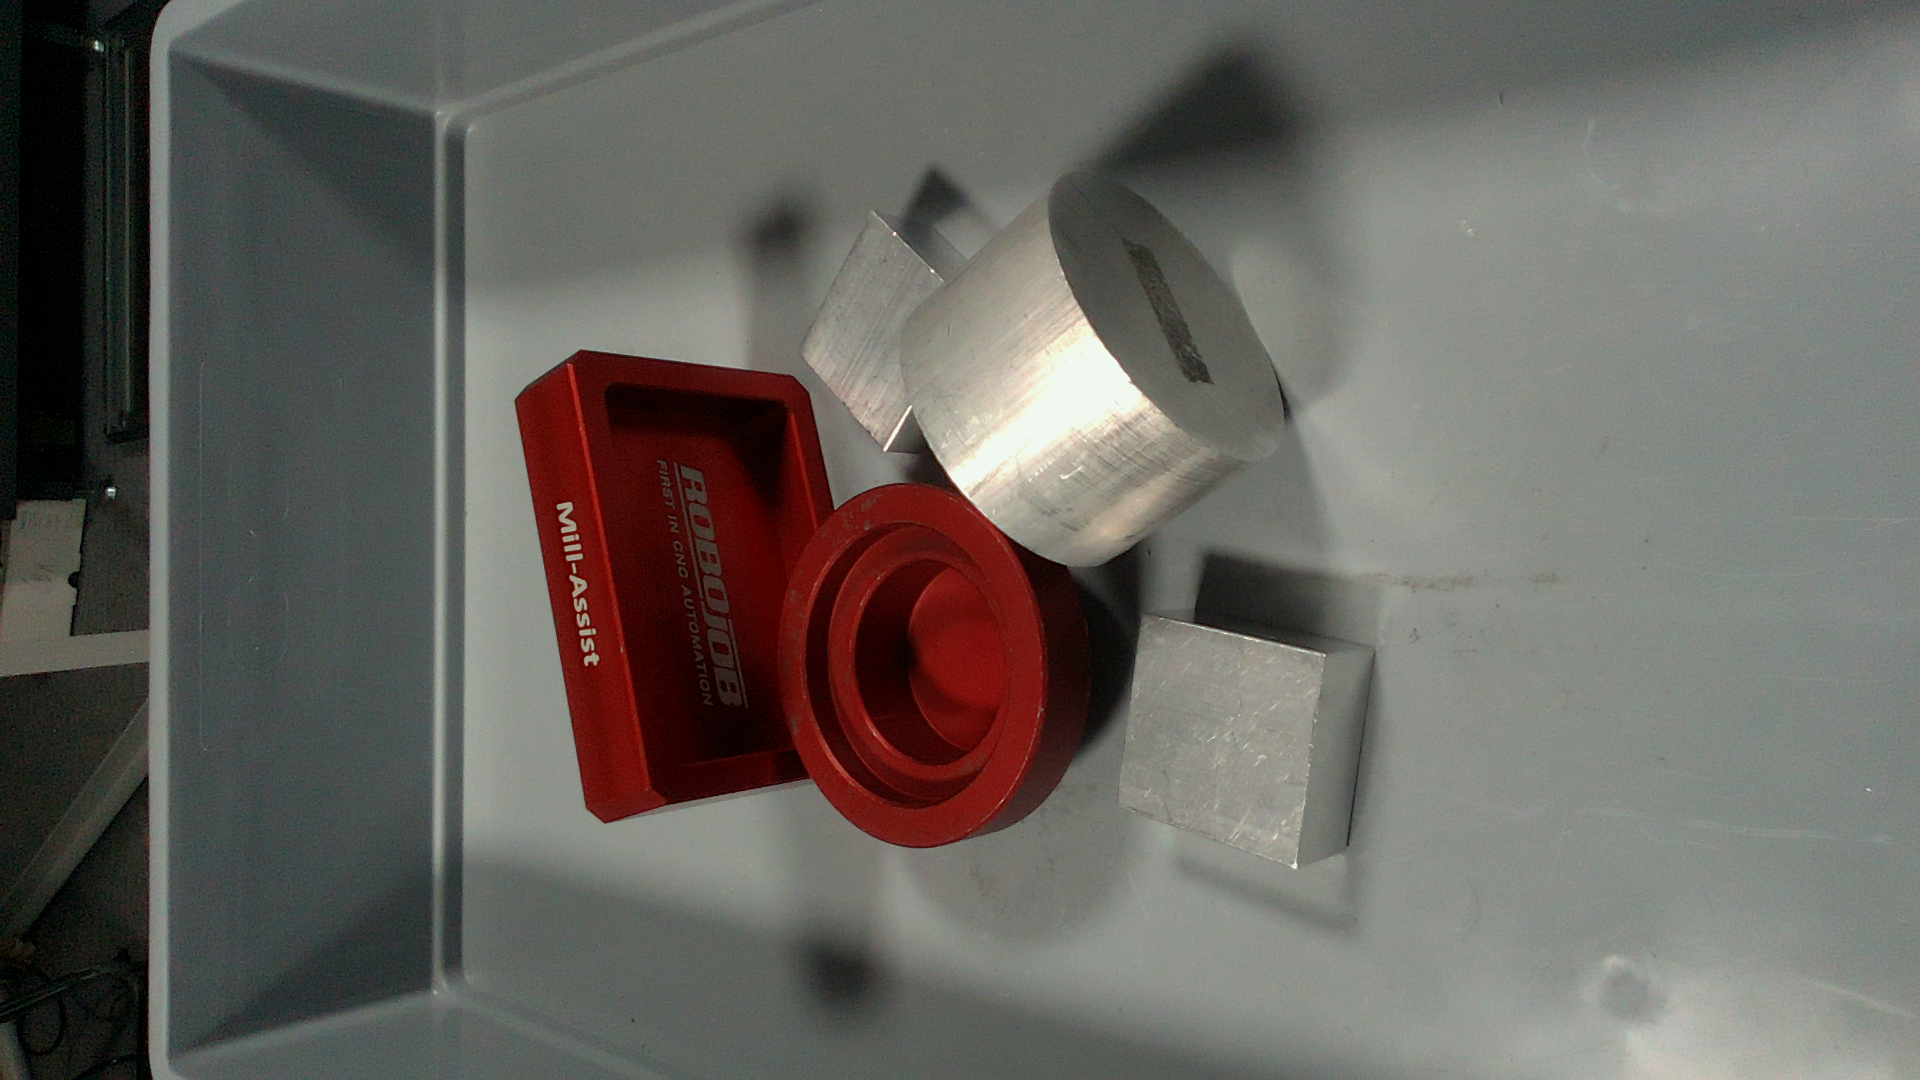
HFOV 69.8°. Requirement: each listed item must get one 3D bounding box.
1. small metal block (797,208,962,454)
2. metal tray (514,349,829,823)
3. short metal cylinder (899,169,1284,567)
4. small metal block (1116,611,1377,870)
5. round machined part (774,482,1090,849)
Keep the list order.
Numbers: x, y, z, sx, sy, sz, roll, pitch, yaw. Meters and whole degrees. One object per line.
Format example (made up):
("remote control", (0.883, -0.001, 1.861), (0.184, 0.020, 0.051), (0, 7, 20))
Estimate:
("small metal block", (-0.015, -0.061, 0.406), (0.050, 0.025, 0.050), (49, 120, 31))
("metal tray", (-0.077, 0.012, 0.415), (0.030, 0.090, 0.130), (-22, 76, 38))
("short metal cylinder", (0.032, -0.040, 0.330), (0.050, 0.080, 0.080), (-36, 68, 34))
("small metal block", (0.069, 0.046, 0.335), (0.050, 0.025, 0.050), (12, 97, 41))
("round machined part", (-0.004, 0.033, 0.383), (0.098, 0.042, 0.098), (0, 90, 40))
